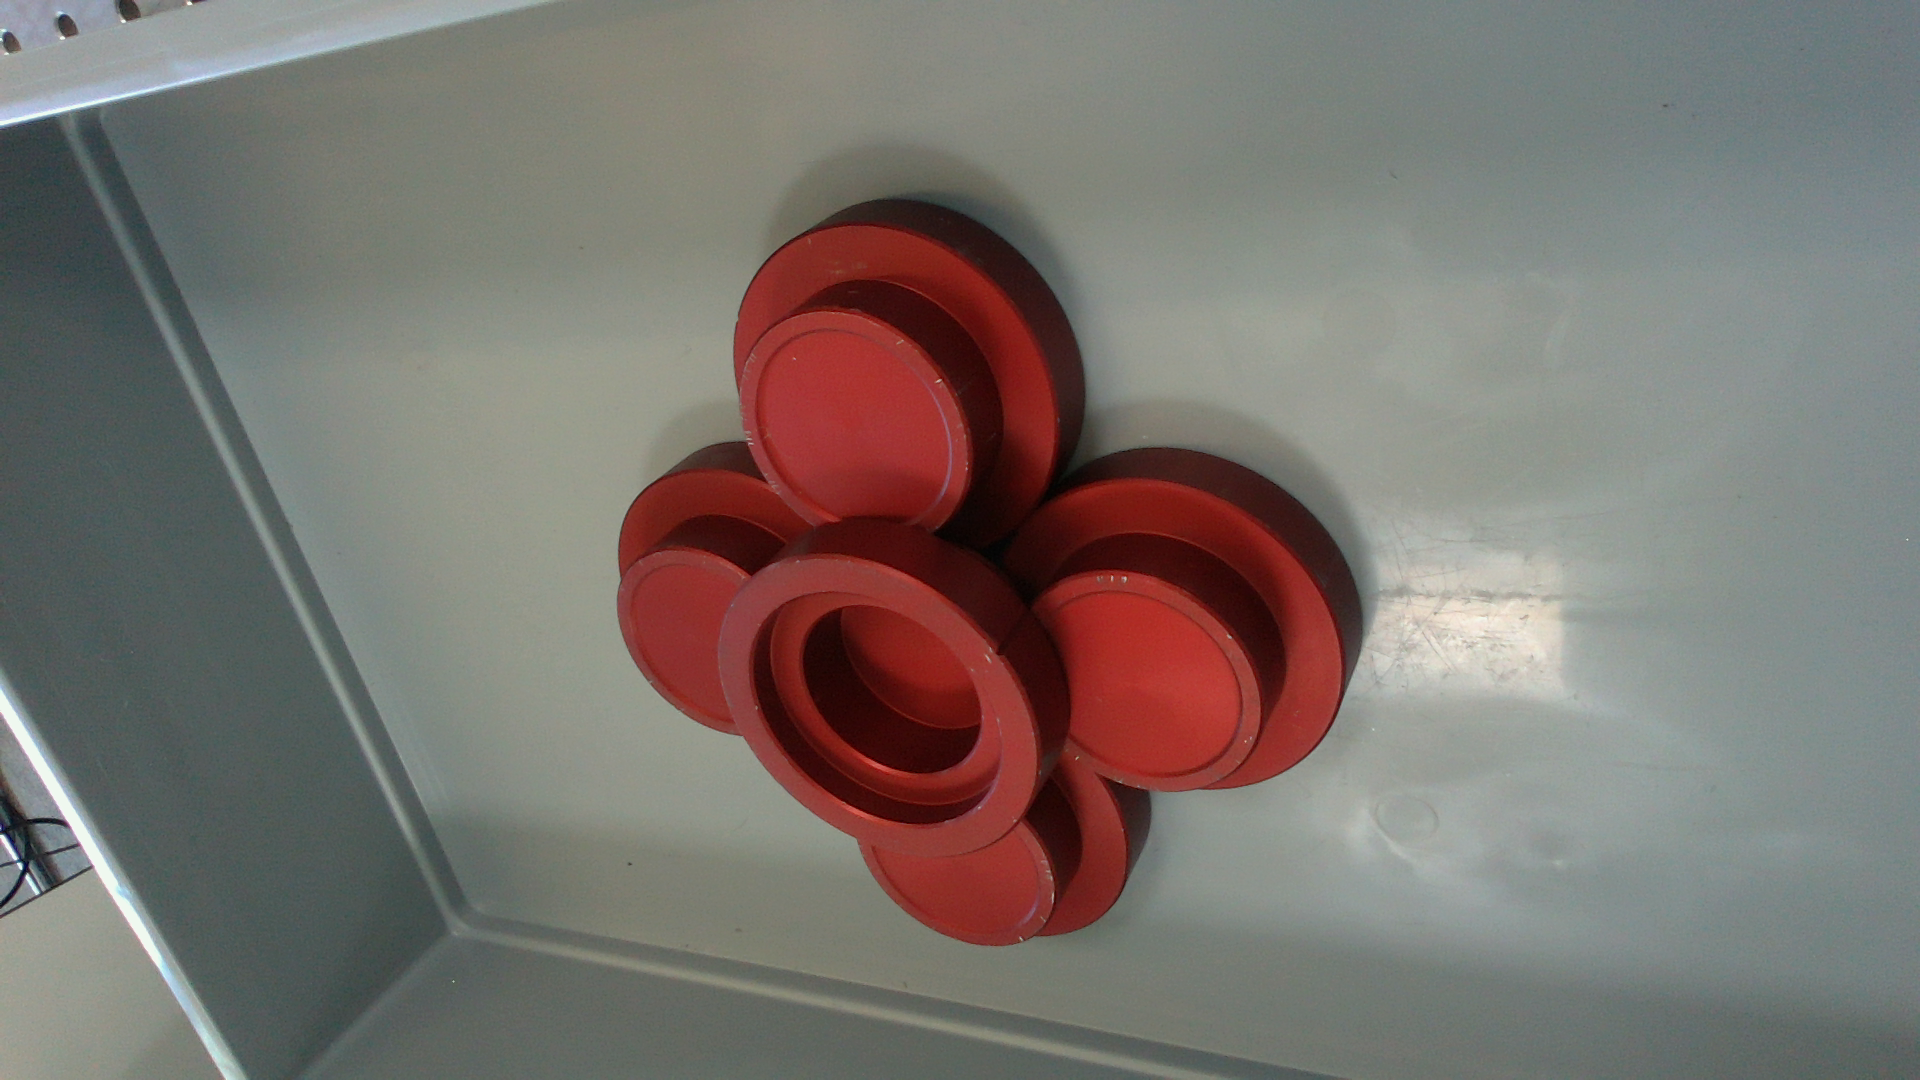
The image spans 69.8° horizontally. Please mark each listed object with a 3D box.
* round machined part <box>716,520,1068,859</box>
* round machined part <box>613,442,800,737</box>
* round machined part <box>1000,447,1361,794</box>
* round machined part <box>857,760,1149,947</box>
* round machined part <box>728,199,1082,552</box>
[{"bbox_3d":[-0.015,0.037,0.384,0.098,0.042,0.098,13,124,21],"label":"round machined part"},{"bbox_3d":[-0.068,0.022,0.430,0.098,0.042,0.098,13,124,21],"label":"round machined part"},{"bbox_3d":[0.054,0.028,0.368,0.098,0.042,0.098,13,124,21],"label":"round machined part"},{"bbox_3d":[0.006,0.087,0.430,0.098,0.042,0.098,12,122,21],"label":"round machined part"},{"bbox_3d":[-0.021,-0.037,0.367,0.098,0.042,0.098,13,124,21],"label":"round machined part"}]
